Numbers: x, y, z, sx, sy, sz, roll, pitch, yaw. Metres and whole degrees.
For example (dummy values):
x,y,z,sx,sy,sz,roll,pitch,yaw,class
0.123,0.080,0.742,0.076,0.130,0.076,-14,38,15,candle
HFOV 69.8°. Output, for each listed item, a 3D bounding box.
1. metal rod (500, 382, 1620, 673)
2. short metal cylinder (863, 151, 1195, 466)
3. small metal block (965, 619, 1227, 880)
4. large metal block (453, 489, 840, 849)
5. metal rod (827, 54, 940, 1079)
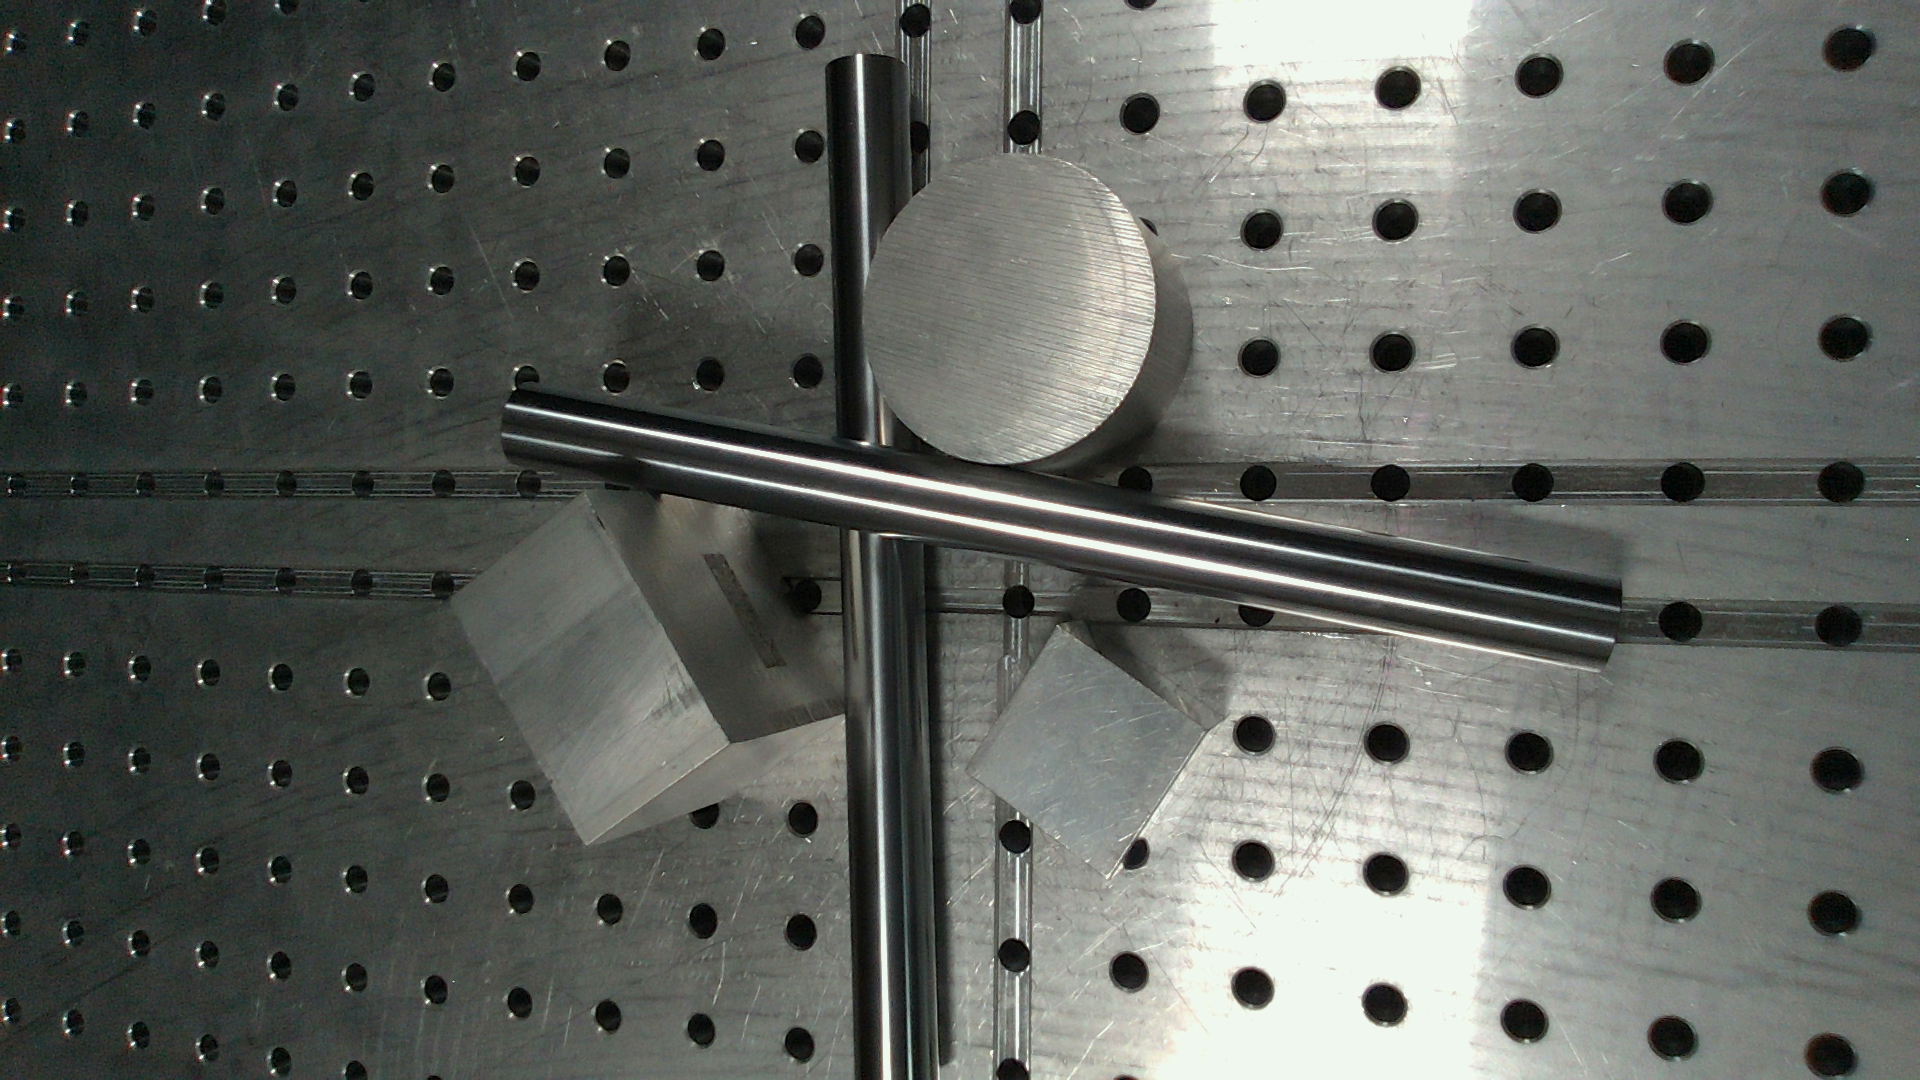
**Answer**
x,y,z,sx,sy,sz,roll,pitch,yaw,class
0.016,-0.007,0.372,0.299,0.025,0.025,11,94,12,metal rod
0.020,-0.060,0.377,0.080,0.050,0.080,0,90,20,short metal cylinder
0.038,0.057,0.386,0.050,0.025,0.050,35,101,17,small metal block
-0.084,0.034,0.398,0.050,0.080,0.080,-37,78,16,large metal block
-0.023,0.010,0.407,0.025,0.025,0.300,-2,89,20,metal rod
